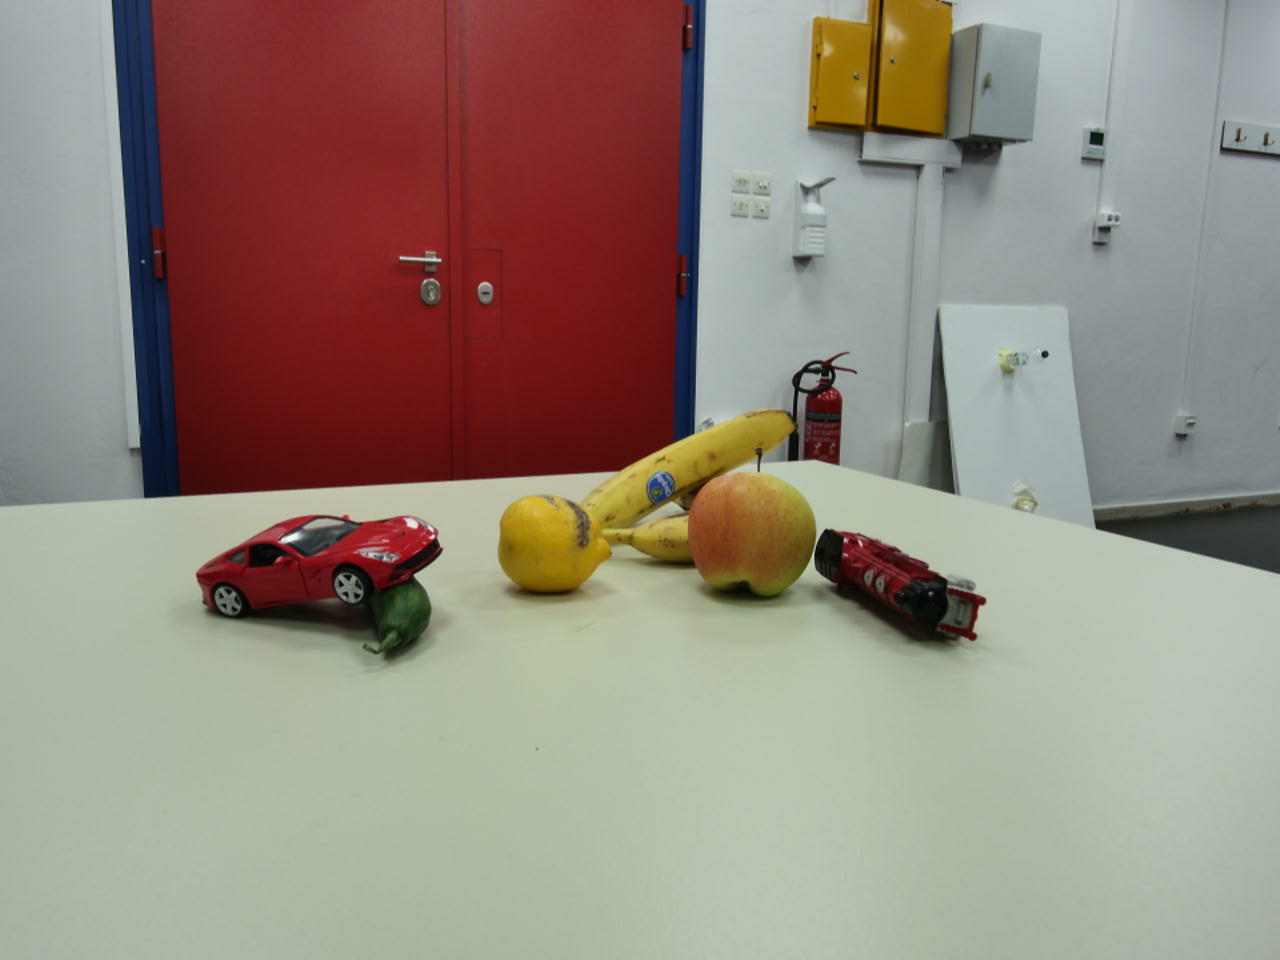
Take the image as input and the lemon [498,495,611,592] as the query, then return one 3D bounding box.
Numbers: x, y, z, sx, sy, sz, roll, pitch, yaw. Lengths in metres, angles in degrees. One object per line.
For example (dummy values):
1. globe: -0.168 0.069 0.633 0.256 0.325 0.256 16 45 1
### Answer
1. lemon: -0.053 0.037 0.582 0.061 0.056 0.058 -4 9 -32
